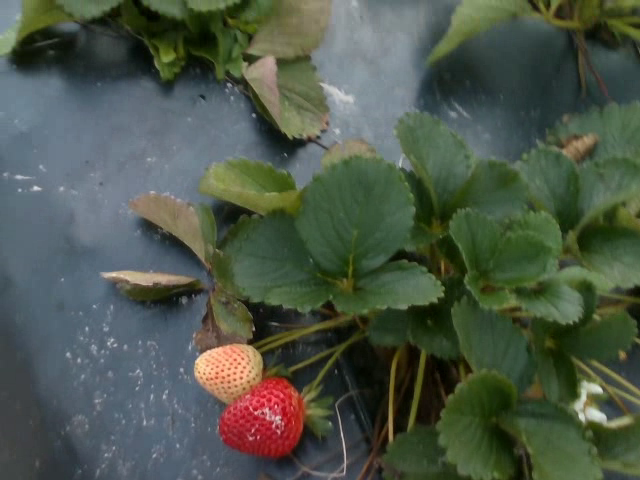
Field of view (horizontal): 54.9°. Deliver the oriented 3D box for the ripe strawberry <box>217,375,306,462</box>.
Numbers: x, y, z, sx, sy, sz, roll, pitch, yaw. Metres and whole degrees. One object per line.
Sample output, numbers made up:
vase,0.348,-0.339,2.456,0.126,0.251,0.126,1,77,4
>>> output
ripe strawberry,-0.026,0.076,0.258,0.041,0.034,0.033,4,-17,-33
